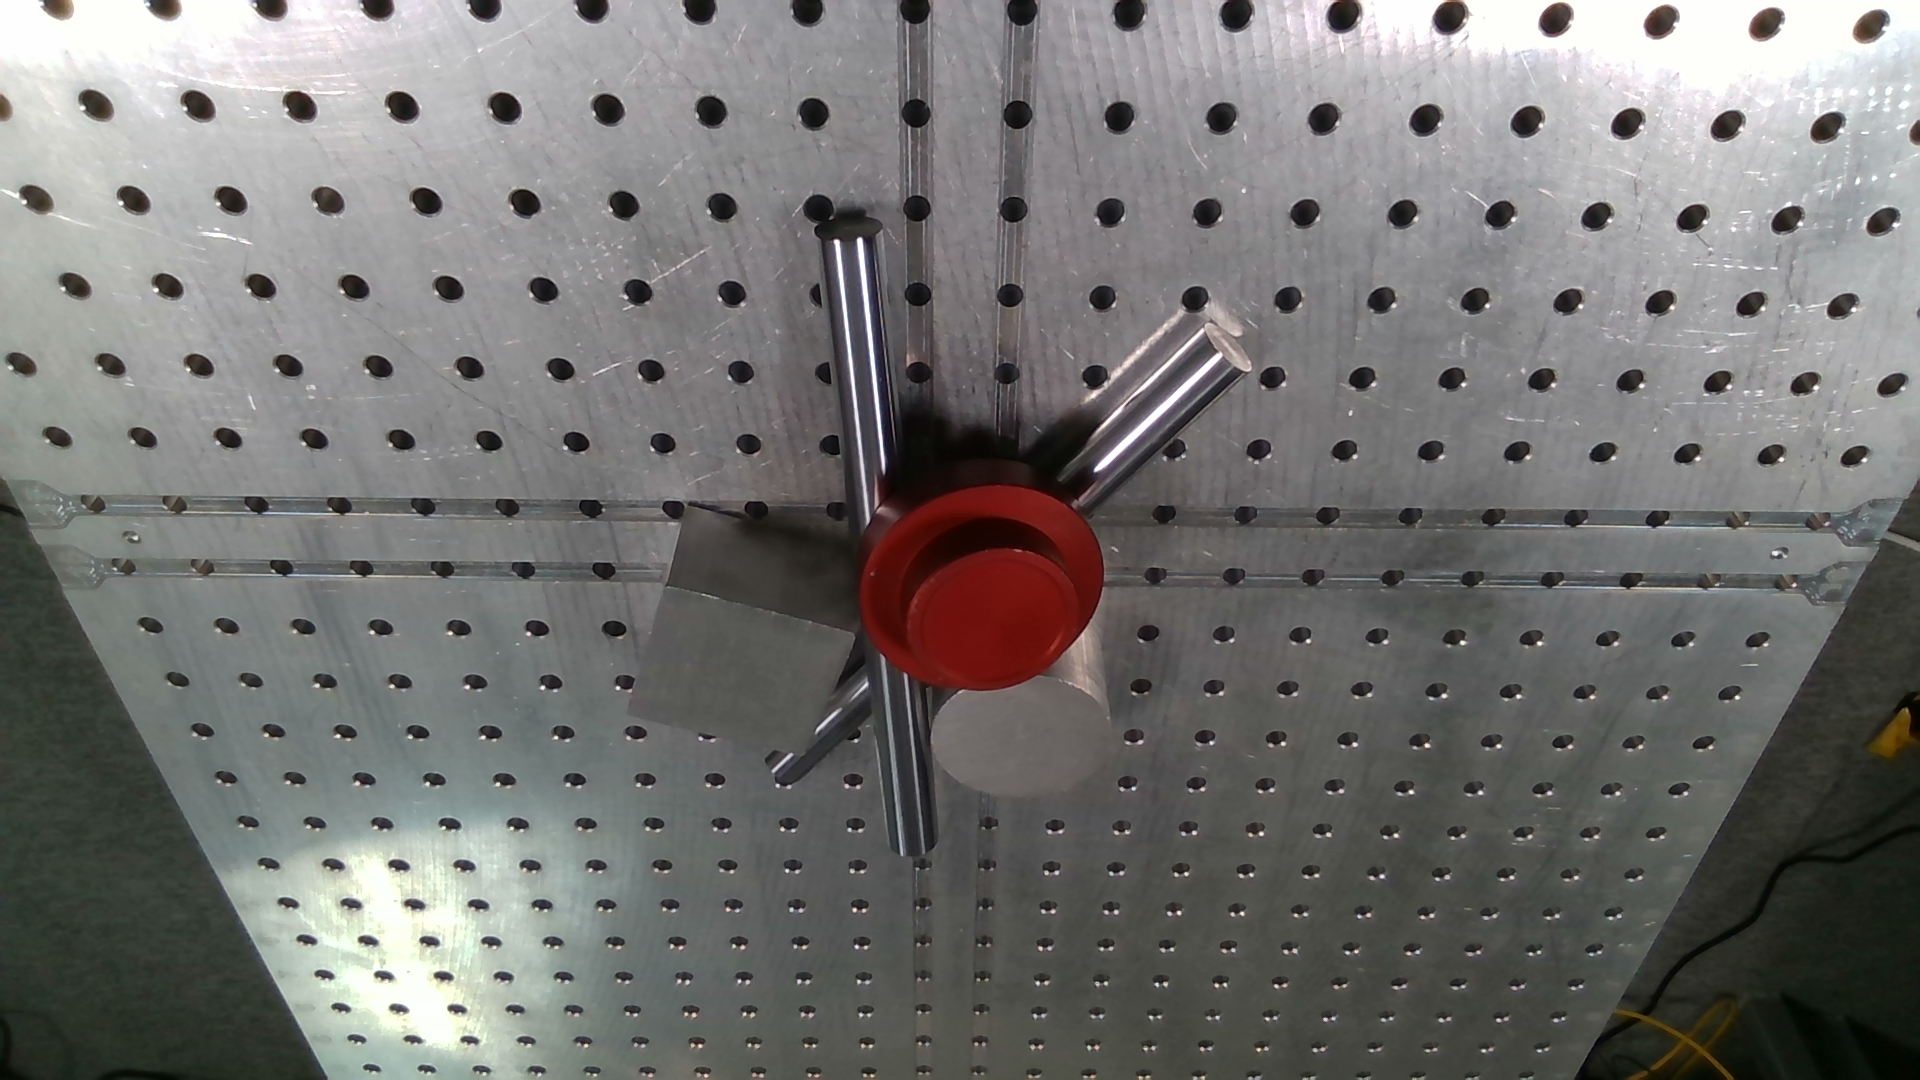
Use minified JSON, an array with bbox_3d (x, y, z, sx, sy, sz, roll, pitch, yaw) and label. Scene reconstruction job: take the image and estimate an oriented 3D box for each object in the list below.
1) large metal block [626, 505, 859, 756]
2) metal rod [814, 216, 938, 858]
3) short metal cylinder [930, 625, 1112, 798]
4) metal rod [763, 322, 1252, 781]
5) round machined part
[{"bbox_3d":[-0.093,0.041,0.597,0.080,0.050,0.080,16,128,-13],"label":"large metal block"},{"bbox_3d":[-0.031,0.015,0.571,0.025,0.025,0.301,-2,123,2],"label":"metal rod"},{"bbox_3d":[0.027,0.072,0.625,0.080,0.050,0.080,0,130,0],"label":"short metal cylinder"},{"bbox_3d":[0.008,0.017,0.596,0.025,0.025,0.301,31,123,-24],"label":"metal rod"},{"bbox_3d":[0.009,0.019,0.544,0.098,0.042,0.098,-5,124,-7],"label":"round machined part"}]
